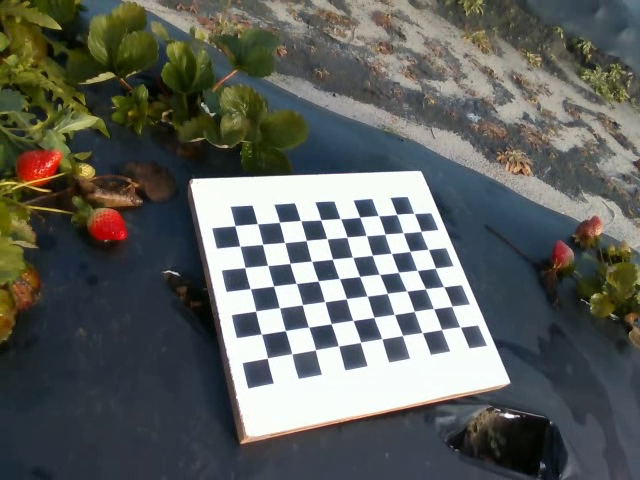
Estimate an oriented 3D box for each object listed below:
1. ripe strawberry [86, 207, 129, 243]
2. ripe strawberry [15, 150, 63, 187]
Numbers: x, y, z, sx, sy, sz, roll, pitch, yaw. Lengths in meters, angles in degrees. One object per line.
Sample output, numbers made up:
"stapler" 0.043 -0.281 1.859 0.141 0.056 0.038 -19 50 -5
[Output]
"ripe strawberry" -0.196 -0.013 0.581 0.035 0.043 0.030 -46 -11 -38
"ripe strawberry" -0.263 -0.073 0.589 0.048 0.040 0.031 -34 -19 8
